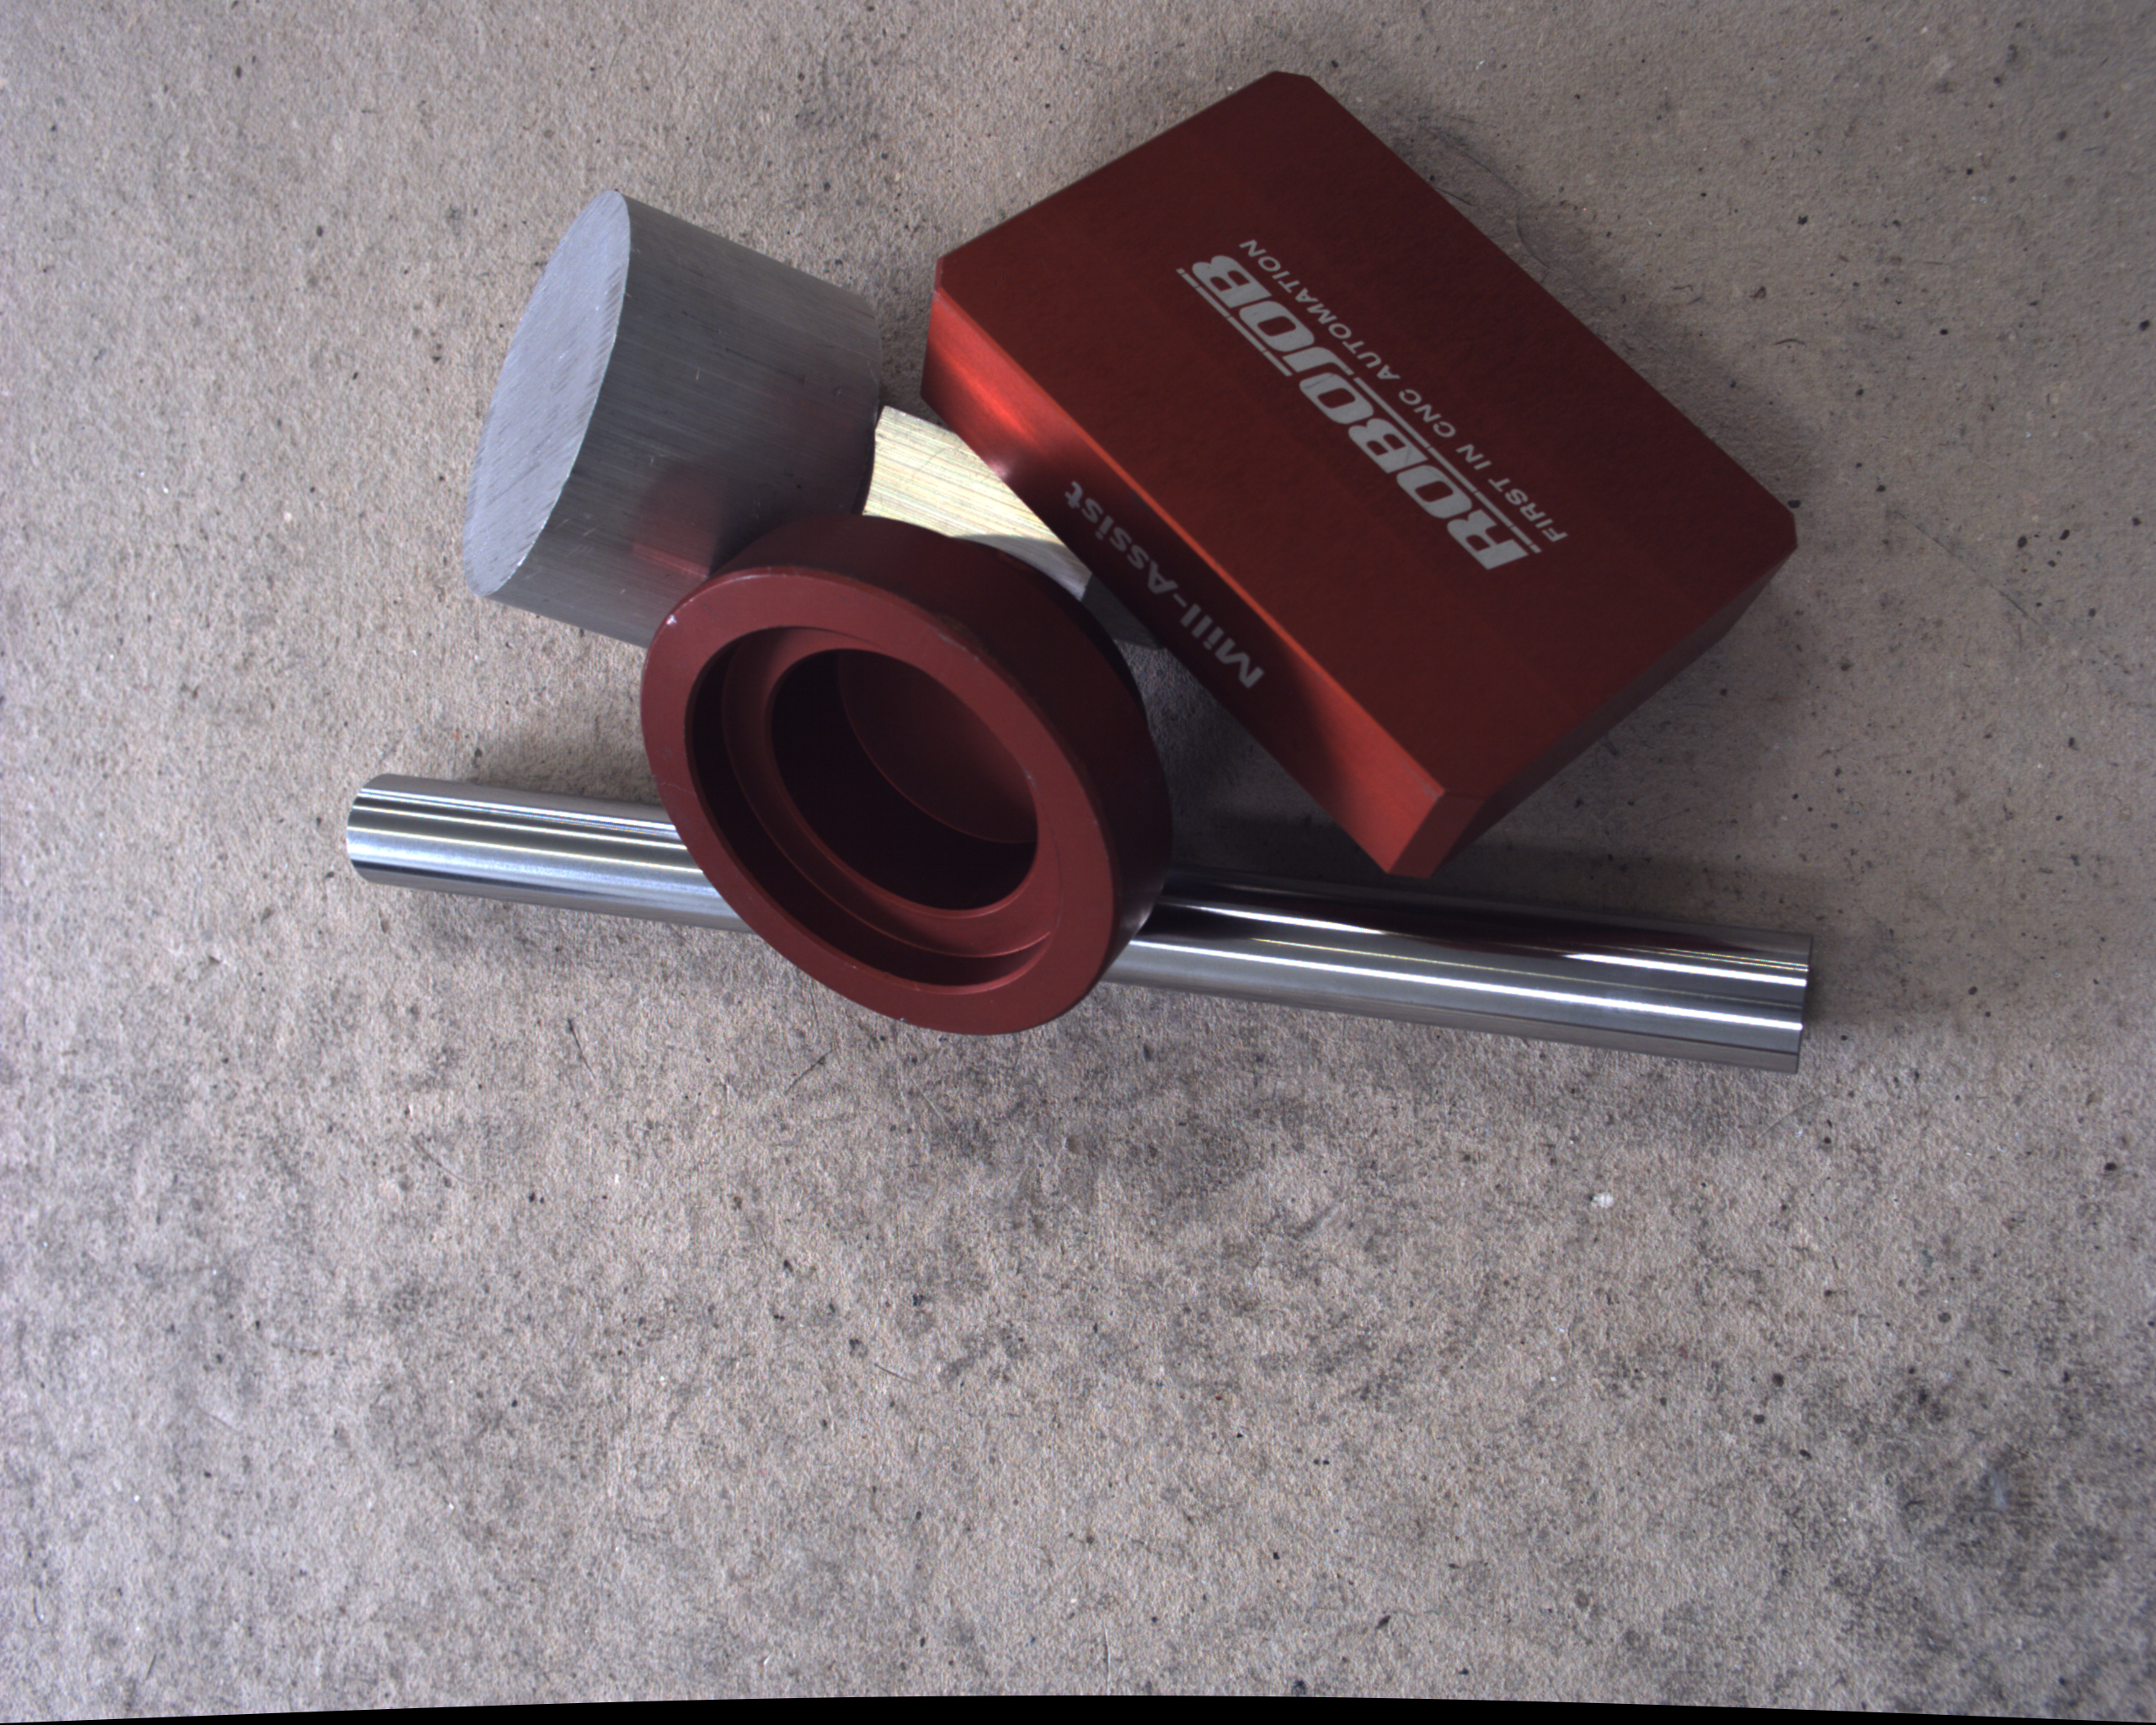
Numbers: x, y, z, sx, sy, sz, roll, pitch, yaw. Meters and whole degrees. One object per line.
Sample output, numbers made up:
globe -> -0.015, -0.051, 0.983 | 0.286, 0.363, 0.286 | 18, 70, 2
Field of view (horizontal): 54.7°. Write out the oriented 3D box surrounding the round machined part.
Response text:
round machined part -> -0.027, -0.020, 0.378 | 0.098, 0.042, 0.097 | 18, 133, 21

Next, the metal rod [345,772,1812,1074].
metal rod -> -0.014, 0.008, 0.415 | 0.301, 0.025, 0.025 | 7, 92, 19

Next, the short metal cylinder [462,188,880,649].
short metal cylinder -> -0.080, -0.082, 0.404 | 0.080, 0.050, 0.080 | -33, 48, 48

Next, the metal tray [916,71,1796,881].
metal tray -> 0.046, -0.071, 0.364 | 0.090, 0.030, 0.130 | -37, 75, -24

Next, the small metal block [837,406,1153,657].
small metal block -> -0.011, -0.062, 0.399 | 0.050, 0.050, 0.025 | 25, 99, 18
